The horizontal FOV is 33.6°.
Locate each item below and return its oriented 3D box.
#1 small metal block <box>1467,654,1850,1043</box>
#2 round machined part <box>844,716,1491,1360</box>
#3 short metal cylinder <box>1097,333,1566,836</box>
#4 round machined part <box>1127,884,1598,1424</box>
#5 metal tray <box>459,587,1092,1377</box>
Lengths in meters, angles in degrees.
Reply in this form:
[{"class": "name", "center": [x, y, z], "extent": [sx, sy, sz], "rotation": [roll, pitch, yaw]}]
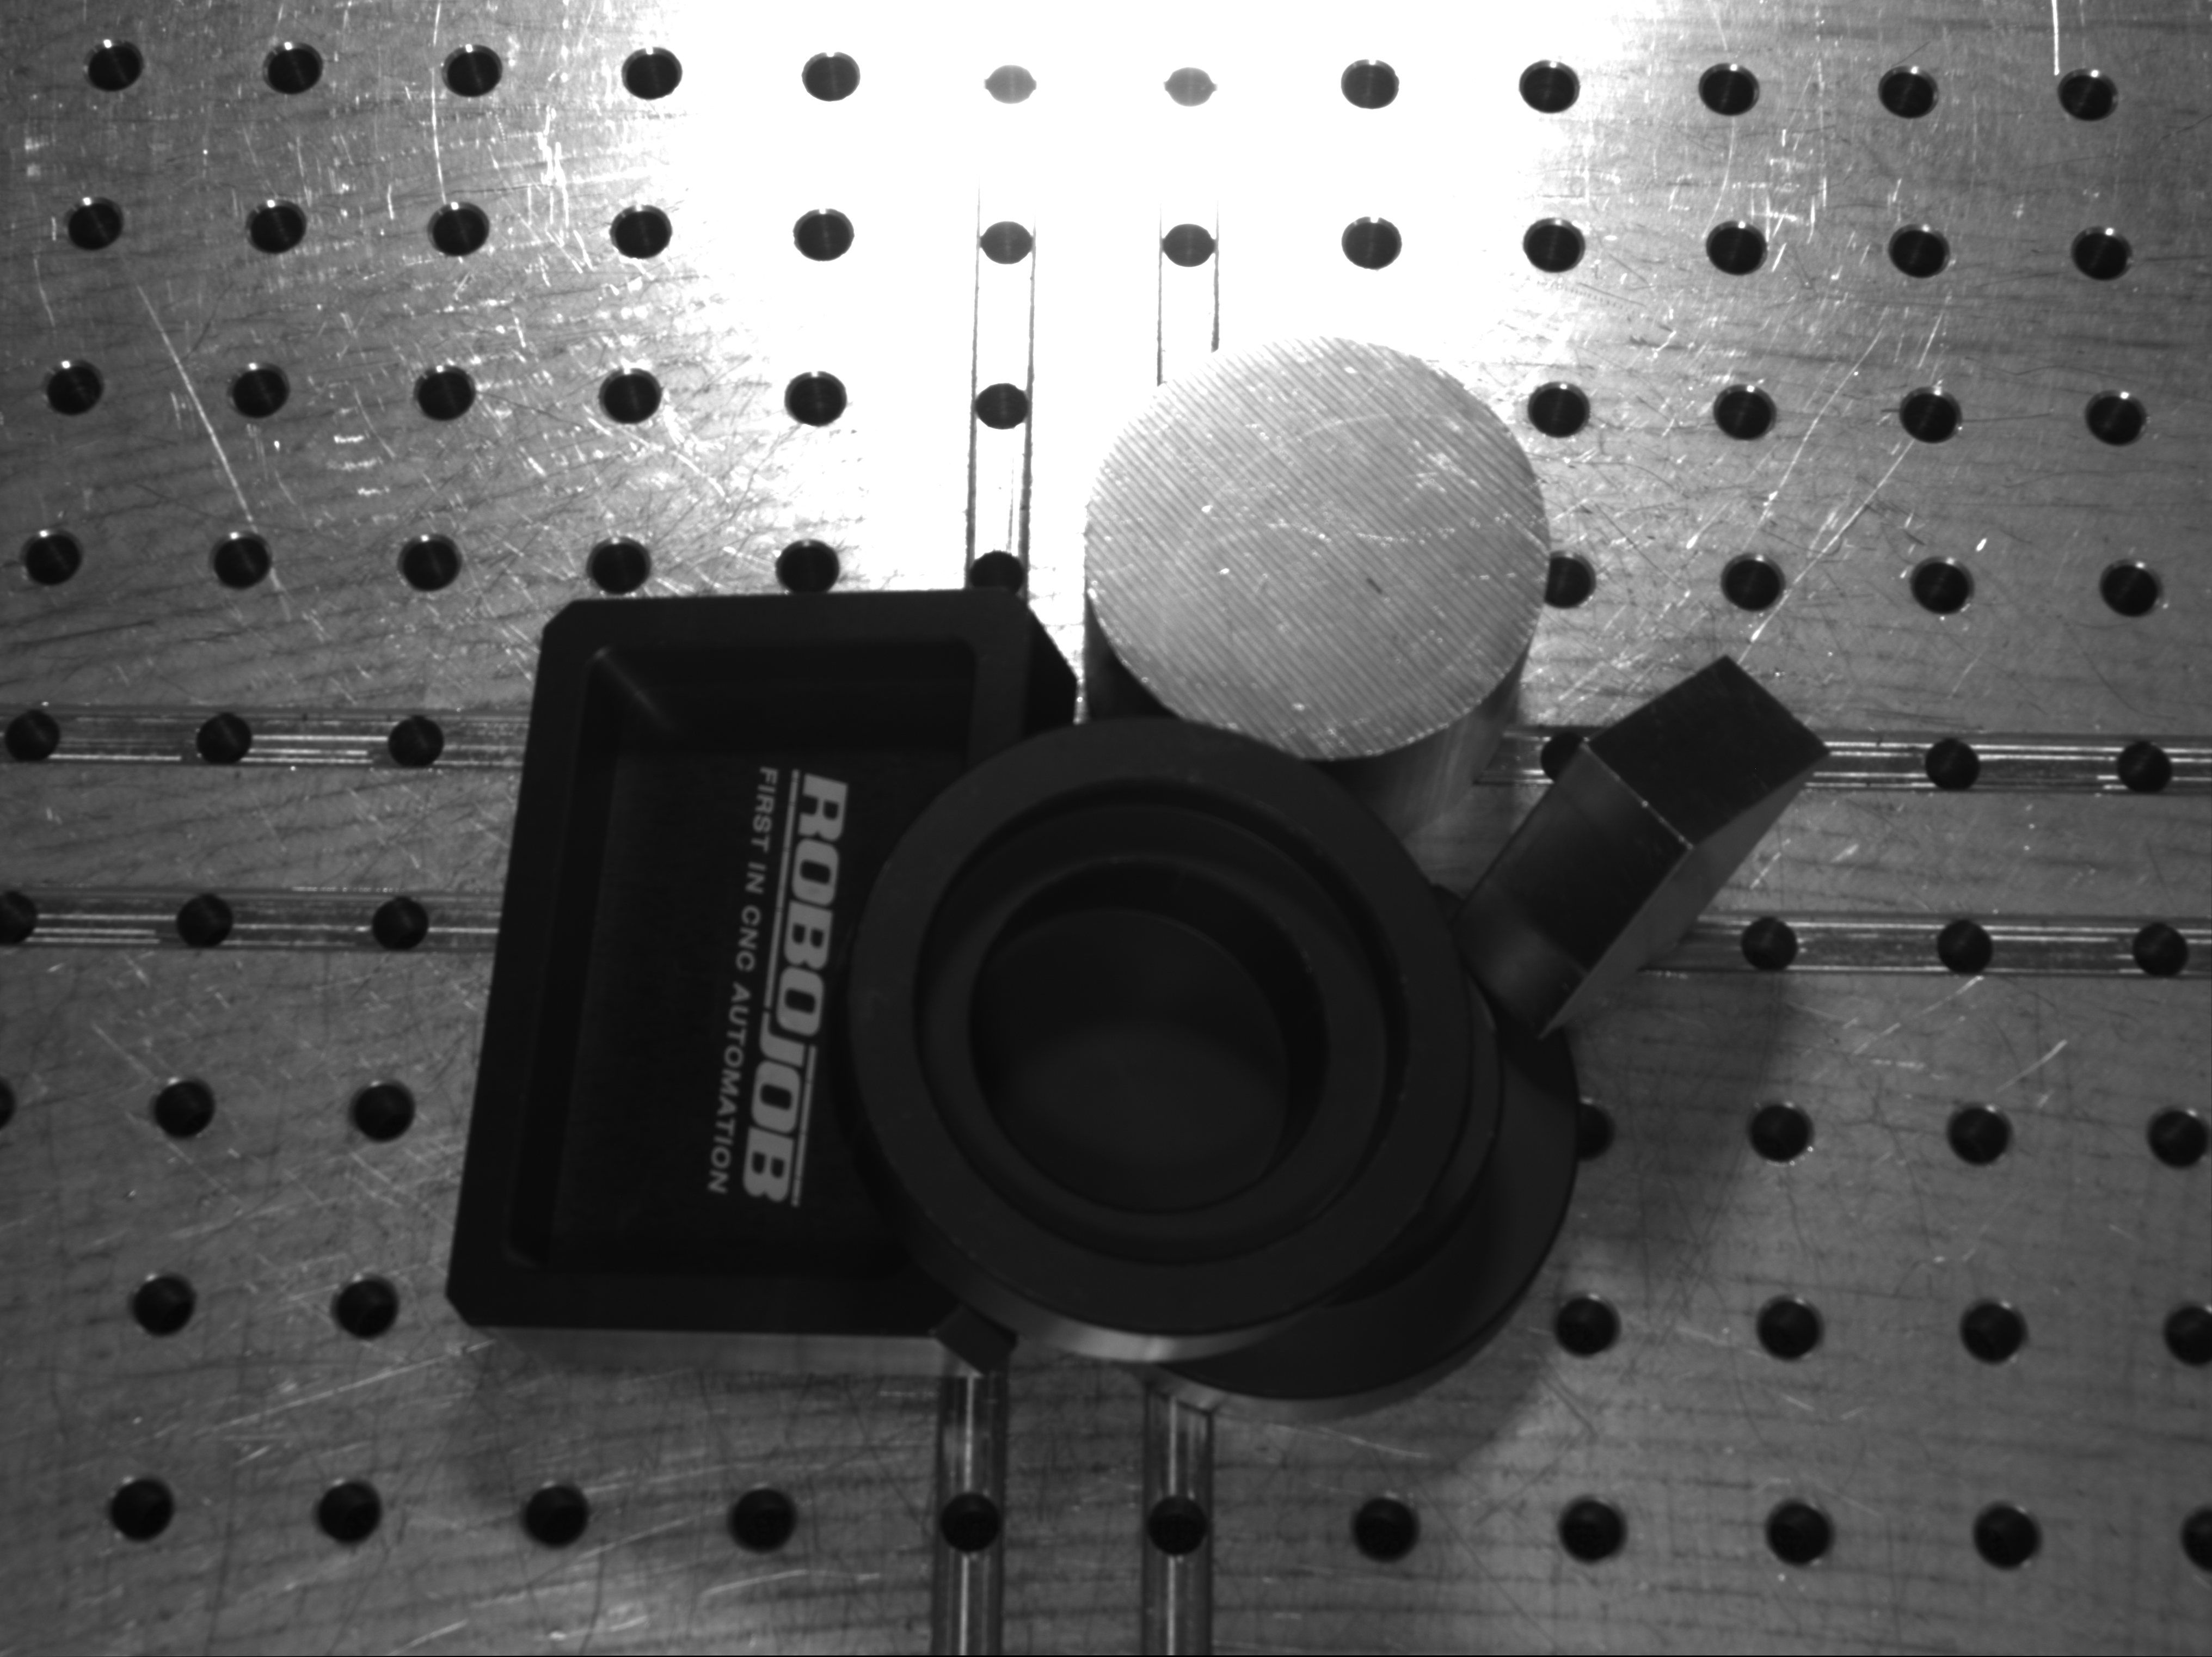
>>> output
[{"class": "small metal block", "center": [0.093, 0.003, 0.623], "extent": [0.025, 0.050, 0.050], "rotation": [45, 41, 15]}, {"class": "round machined part", "center": [0.008, 0.035, 0.574], "extent": [0.098, 0.042, 0.098], "rotation": [3, 71, -10]}, {"class": "short metal cylinder", "center": [0.039, -0.040, 0.648], "extent": [0.080, 0.050, 0.080], "rotation": [0, 70, 0]}, {"class": "round machined part", "center": [0.034, 0.048, 0.619], "extent": [0.098, 0.042, 0.098], "rotation": [0, 70, 0]}, {"class": "metal tray", "center": [-0.054, 0.025, 0.623], "extent": [0.090, 0.030, 0.130], "rotation": [-1, 69, 15]}]
